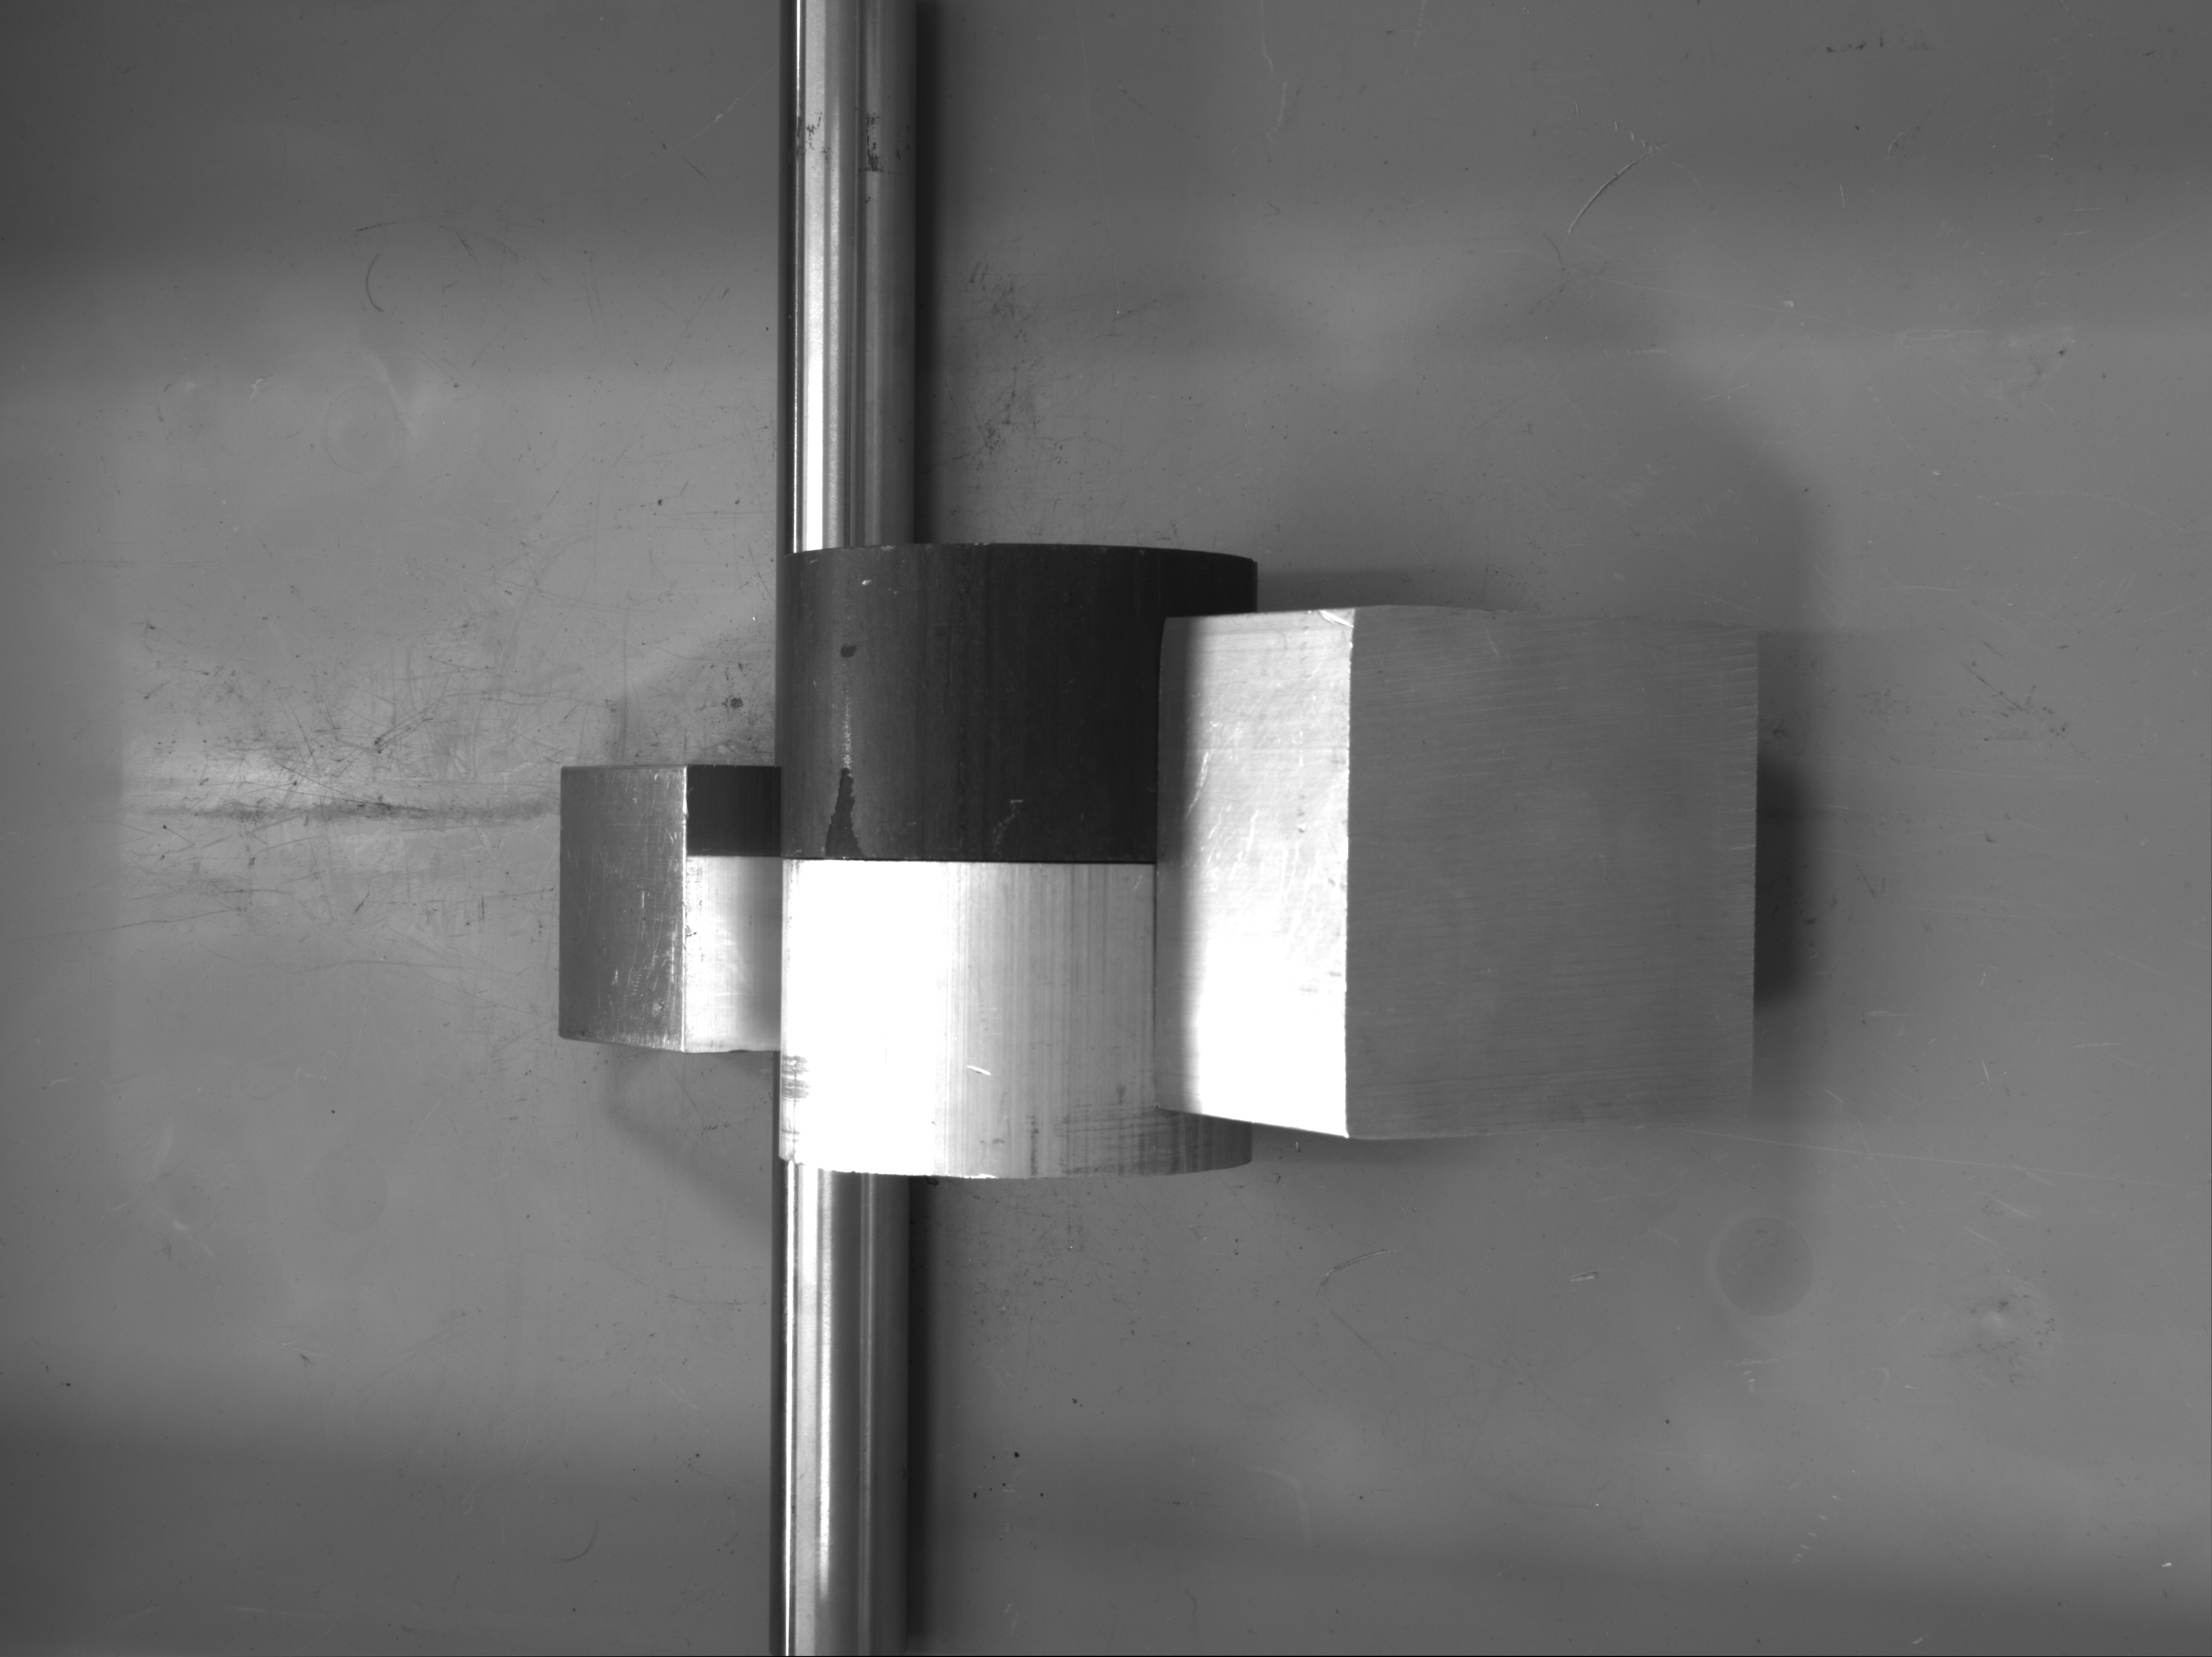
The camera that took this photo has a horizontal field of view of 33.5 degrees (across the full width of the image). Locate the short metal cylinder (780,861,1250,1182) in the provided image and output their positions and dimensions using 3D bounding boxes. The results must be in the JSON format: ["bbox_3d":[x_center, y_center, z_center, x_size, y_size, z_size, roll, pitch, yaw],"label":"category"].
[{"bbox_3d":[-0.015,0.031,0.621,0.080,0.080,0.050,1,90,20],"label":"short metal cylinder"}]

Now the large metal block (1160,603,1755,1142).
[{"bbox_3d":[0.056,0.006,0.588,0.050,0.080,0.080,2,91,58],"label":"large metal block"}]

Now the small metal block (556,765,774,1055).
[{"bbox_3d":[-0.076,0.014,0.661,0.050,0.025,0.050,0,89,55],"label":"small metal block"}]

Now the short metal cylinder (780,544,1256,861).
[{"bbox_3d":[-0.015,-0.020,0.621,0.080,0.080,0.050,1,90,20],"label":"short metal cylinder"}]

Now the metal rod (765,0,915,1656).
[{"bbox_3d":[-0.048,-0.002,0.662,0.025,0.025,0.300,0,90,20],"label":"metal rod"}]
